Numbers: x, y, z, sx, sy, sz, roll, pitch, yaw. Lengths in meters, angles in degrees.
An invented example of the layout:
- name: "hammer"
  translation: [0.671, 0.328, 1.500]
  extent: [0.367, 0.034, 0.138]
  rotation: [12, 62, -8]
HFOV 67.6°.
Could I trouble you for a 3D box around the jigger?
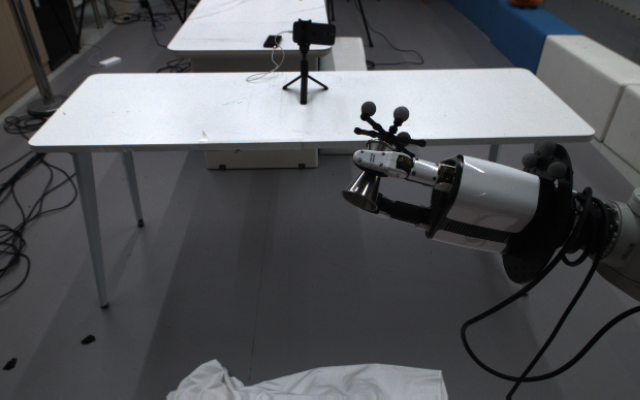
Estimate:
- name: "jigger"
  translation: [0.056, -0.030, 0.536]
  extent: [0.043, 0.043, 0.071]
  rotation: [19, 72, 23]
